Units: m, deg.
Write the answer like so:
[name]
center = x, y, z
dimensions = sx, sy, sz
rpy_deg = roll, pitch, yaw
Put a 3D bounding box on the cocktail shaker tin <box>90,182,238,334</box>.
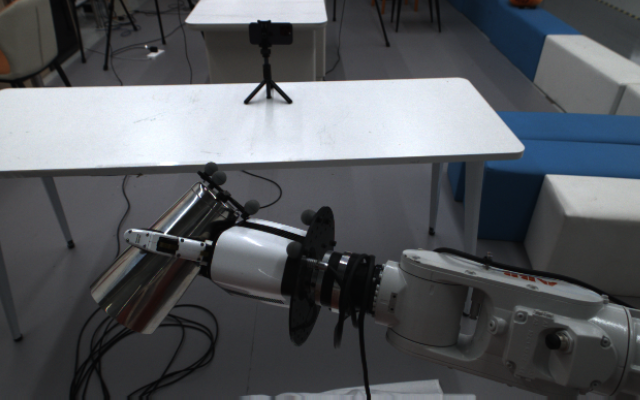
[cocktail shaker tin]
center = -0.174, 0.061, 0.577
dimensions = 0.170, 0.093, 0.093
rpy_deg = -48, 49, -3
